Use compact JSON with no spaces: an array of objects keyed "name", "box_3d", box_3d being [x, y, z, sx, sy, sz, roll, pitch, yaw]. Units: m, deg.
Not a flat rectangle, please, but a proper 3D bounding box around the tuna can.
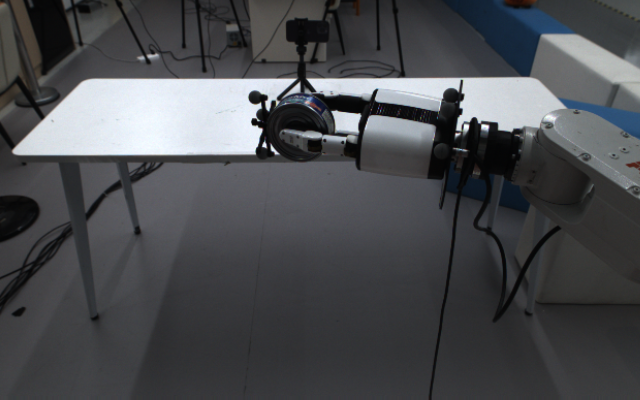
[{"name":"tuna can","box_3d":[-0.024,-0.096,0.633,0.085,0.085,0.034,9,33,10]}]
